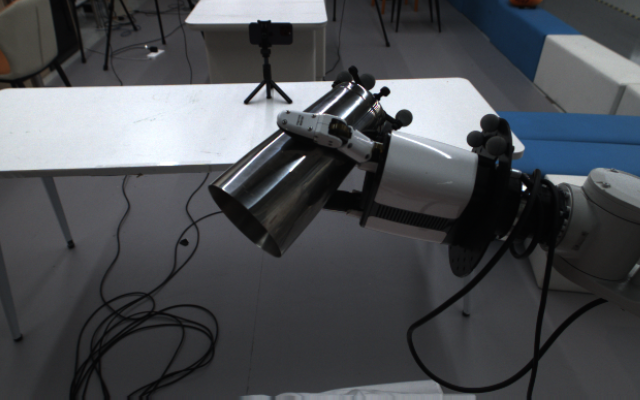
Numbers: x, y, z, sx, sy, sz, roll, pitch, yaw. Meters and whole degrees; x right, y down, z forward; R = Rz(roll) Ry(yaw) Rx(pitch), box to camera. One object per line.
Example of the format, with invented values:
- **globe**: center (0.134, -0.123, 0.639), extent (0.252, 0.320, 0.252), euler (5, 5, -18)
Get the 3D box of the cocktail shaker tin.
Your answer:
- **cocktail shaker tin**: center (-0.013, -0.041, 0.468), extent (0.093, 0.093, 0.170), euler (32, 66, 35)
